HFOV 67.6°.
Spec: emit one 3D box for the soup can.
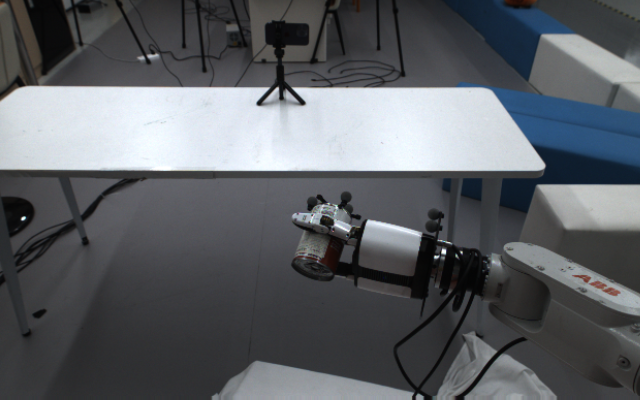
[{"bbox_3d":[0.004,0.062,0.737,0.067,0.067,0.101,12,59,14],"label":"soup can"}]
